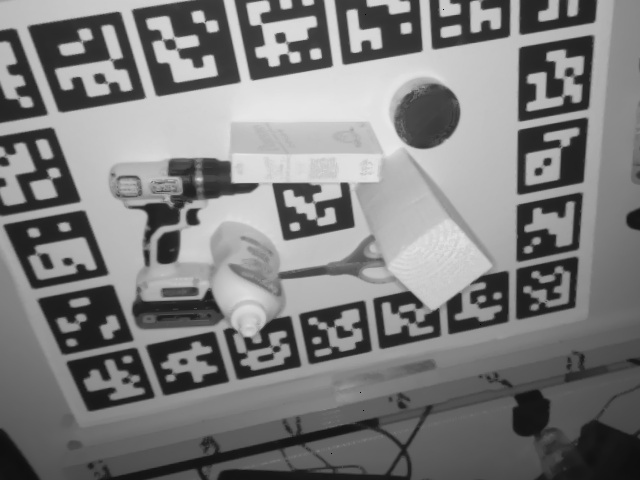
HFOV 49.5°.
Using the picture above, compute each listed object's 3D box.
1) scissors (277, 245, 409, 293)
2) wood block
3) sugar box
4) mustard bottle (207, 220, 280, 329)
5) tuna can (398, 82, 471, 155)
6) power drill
[{"bbox_3d":[0.042,0.044,0.952,0.204,0.016,0.087,-7,121,-6],"label":"scissors"},{"bbox_3d":[0.121,-0.017,0.839,0.090,0.207,0.090,-35,116,10],"label":"wood block"},{"bbox_3d":[-0.020,-0.106,0.825,0.177,0.093,0.045,2,120,-8],"label":"sugar box"},{"bbox_3d":[-0.092,0.049,0.843,0.097,0.192,0.058,38,106,-22],"label":"mustard bottle"},{"bbox_3d":[0.140,-0.151,0.857,0.086,0.034,0.085,-4,116,-6],"label":"tuna can"},{"bbox_3d":[-0.152,-0.015,0.867,0.186,0.057,0.185,3,109,-11],"label":"power drill"}]
